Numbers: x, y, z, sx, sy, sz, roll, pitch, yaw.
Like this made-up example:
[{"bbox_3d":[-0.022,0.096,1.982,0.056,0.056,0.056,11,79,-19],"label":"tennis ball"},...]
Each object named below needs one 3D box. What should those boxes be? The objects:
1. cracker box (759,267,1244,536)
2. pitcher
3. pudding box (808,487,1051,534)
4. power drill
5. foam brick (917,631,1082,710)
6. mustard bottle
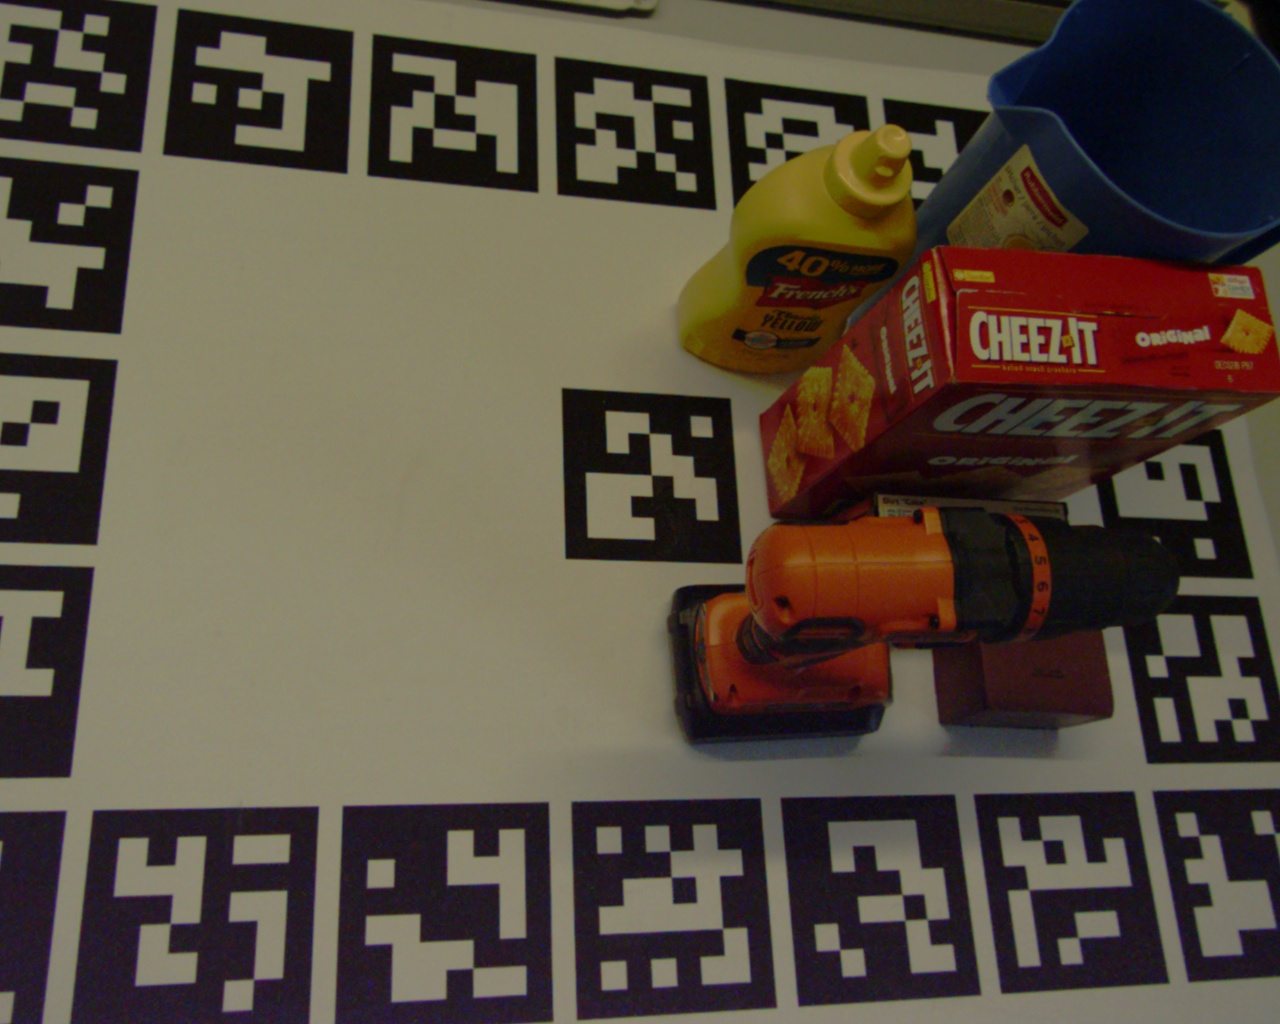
[{"bbox_3d":[0.175,-0.046,0.609,0.163,0.214,0.072,-1,72,-12],"label":"cracker box"},{"bbox_3d":[0.216,-0.145,0.644,0.188,0.243,0.133,7,72,-10],"label":"pitcher"},{"bbox_3d":[0.157,0.016,0.643,0.113,0.090,0.039,1,72,-11],"label":"pudding box"},{"bbox_3d":[0.117,0.054,0.547,0.183,0.188,0.057,0,70,-15],"label":"power drill"},{"bbox_3d":[0.208,0.088,0.667,0.077,0.051,0.053,3,74,-13],"label":"foam brick"},{"bbox_3d":[0.084,-0.143,0.625,0.096,0.192,0.058,14,71,-10],"label":"mustard bottle"}]
